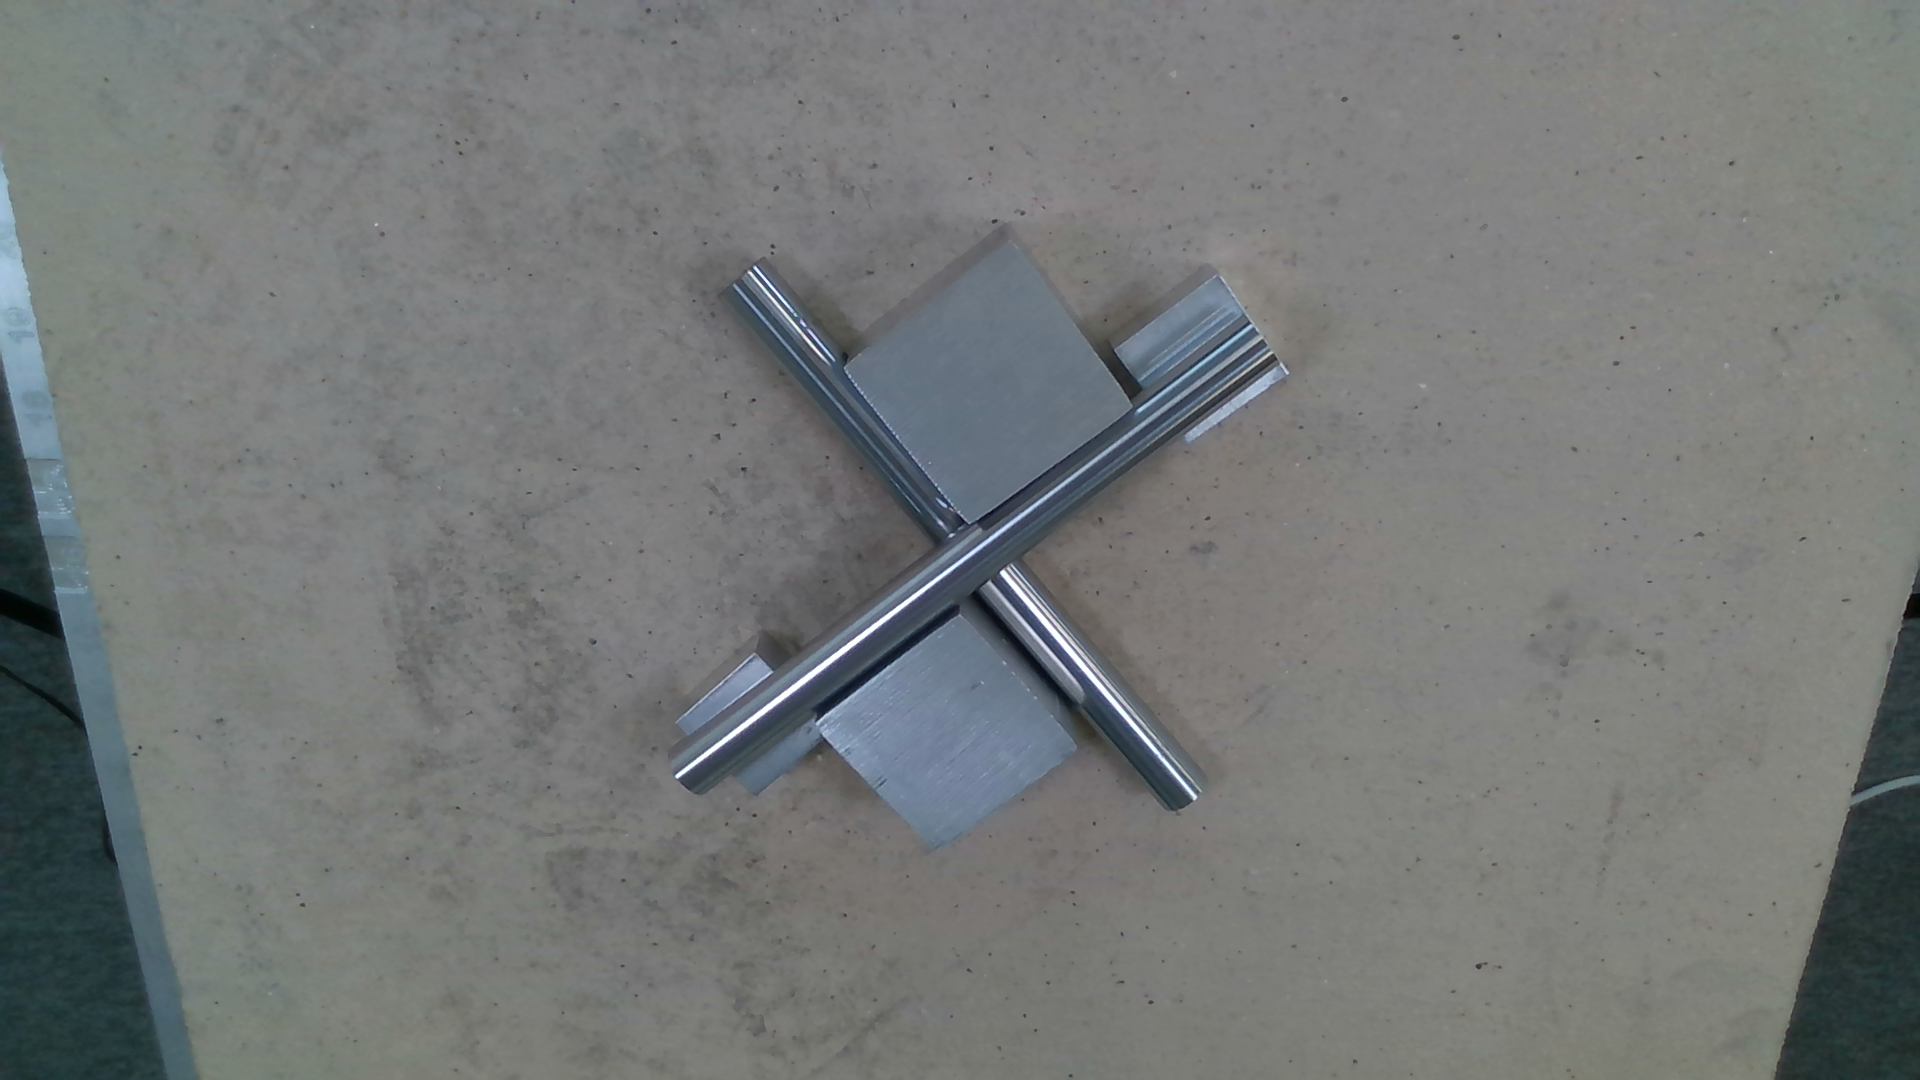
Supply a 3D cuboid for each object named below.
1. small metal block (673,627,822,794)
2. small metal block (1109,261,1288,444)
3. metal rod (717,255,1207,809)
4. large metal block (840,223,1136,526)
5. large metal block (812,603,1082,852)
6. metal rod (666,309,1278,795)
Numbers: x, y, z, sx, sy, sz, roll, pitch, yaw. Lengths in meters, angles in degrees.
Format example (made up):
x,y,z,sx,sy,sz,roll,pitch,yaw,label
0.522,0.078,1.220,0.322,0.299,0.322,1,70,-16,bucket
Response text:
x,y,z,sx,sy,sz,roll,pitch,yaw,label
-0.090,0.076,0.614,0.050,0.025,0.050,-41,105,14,small metal block
0.096,-0.076,0.558,0.050,0.025,0.050,-36,106,12,small metal block
0.007,0.004,0.587,0.025,0.025,0.300,-37,106,13,metal rod
0.011,-0.067,0.545,0.080,0.050,0.080,-35,106,12,large metal block
-0.005,0.074,0.599,0.080,0.050,0.080,-37,106,13,large metal block
-0.002,0.010,0.562,0.300,0.025,0.025,-37,106,13,metal rod
